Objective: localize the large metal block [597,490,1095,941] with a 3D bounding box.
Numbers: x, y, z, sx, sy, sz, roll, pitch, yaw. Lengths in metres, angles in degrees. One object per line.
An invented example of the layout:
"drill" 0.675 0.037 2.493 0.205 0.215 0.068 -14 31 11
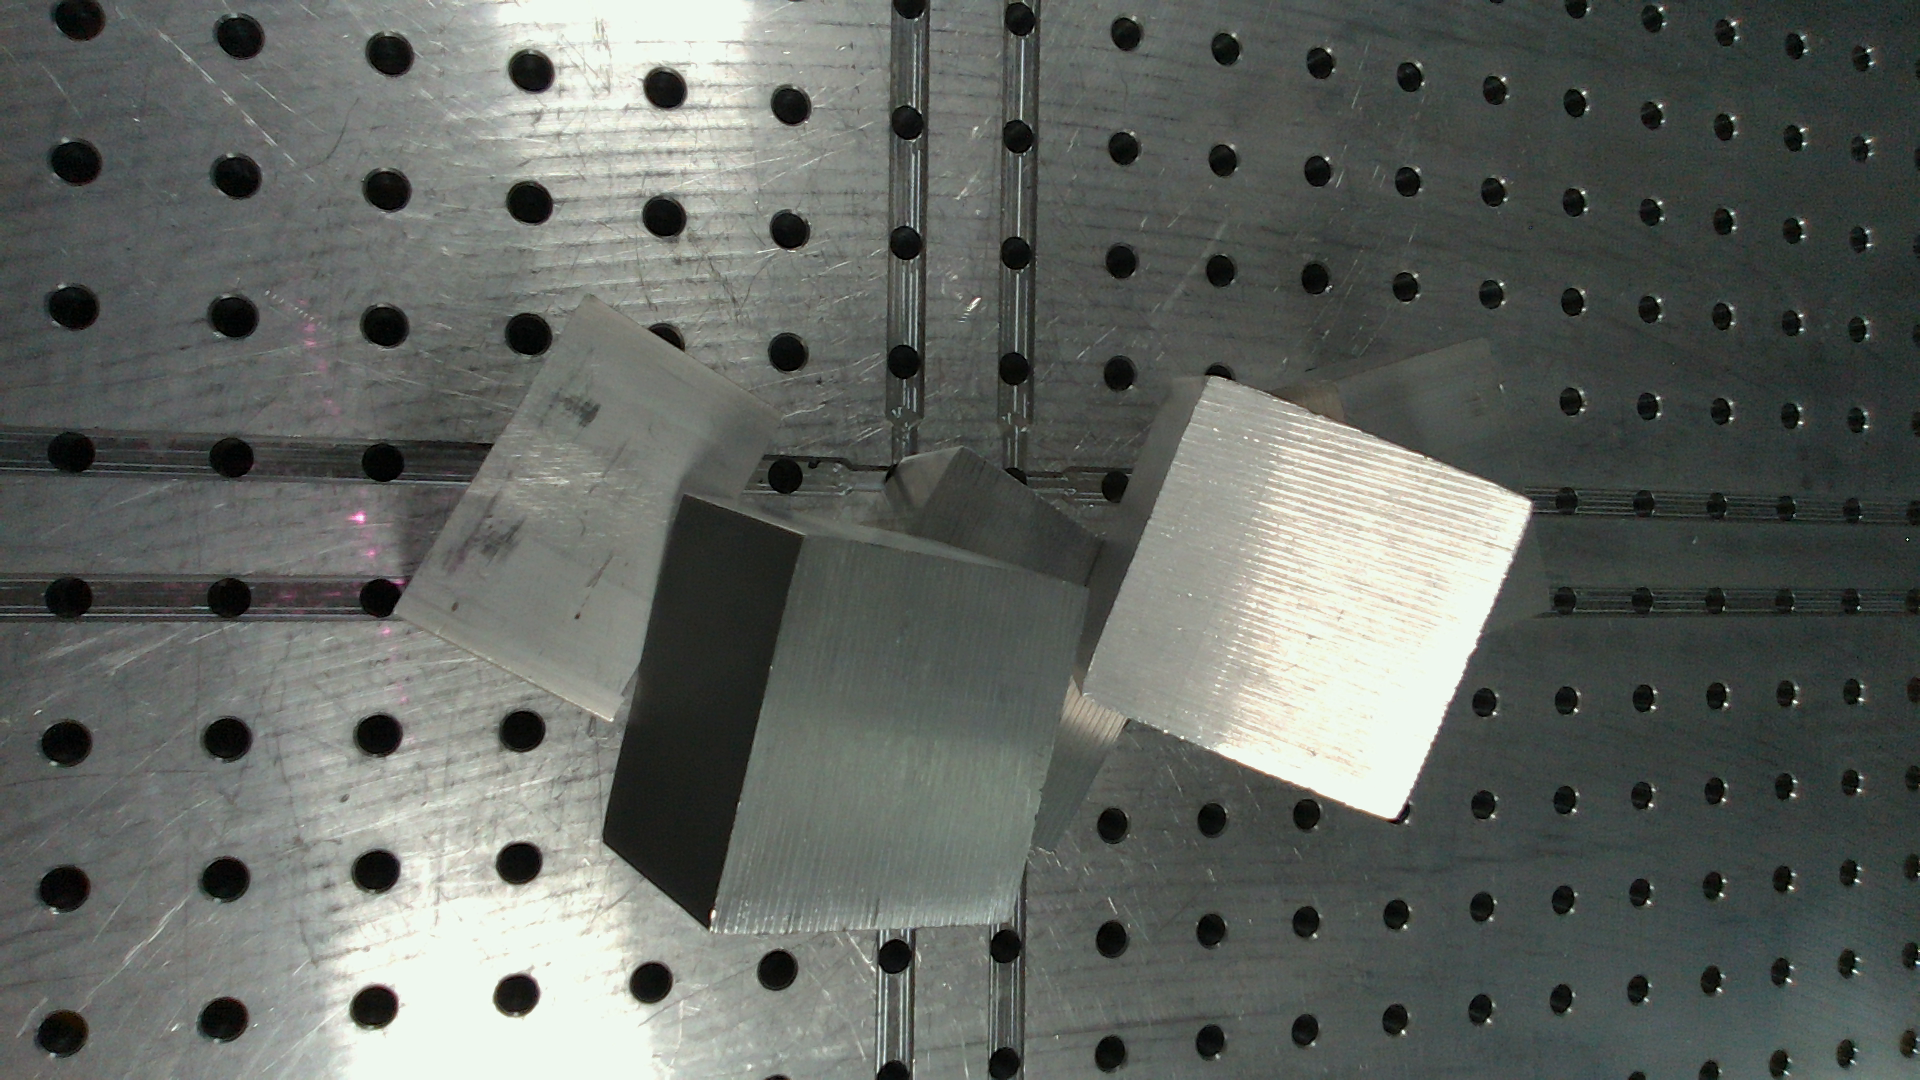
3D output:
"large metal block" -0.024 0.039 0.304 0.080 0.050 0.080 11 93 -40

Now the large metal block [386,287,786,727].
"large metal block" -0.092 -0.007 0.333 0.050 0.080 0.080 31 80 -17

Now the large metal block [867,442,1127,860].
"large metal block" 0.004 0.030 0.384 0.080 0.050 0.080 34 79 -17

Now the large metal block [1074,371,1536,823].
"large metal block" 0.078 0.011 0.337 0.080 0.050 0.080 22 96 -3

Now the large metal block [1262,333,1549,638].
"large metal block" 0.118 -0.011 0.409 0.050 0.080 0.080 -17 96 -19
